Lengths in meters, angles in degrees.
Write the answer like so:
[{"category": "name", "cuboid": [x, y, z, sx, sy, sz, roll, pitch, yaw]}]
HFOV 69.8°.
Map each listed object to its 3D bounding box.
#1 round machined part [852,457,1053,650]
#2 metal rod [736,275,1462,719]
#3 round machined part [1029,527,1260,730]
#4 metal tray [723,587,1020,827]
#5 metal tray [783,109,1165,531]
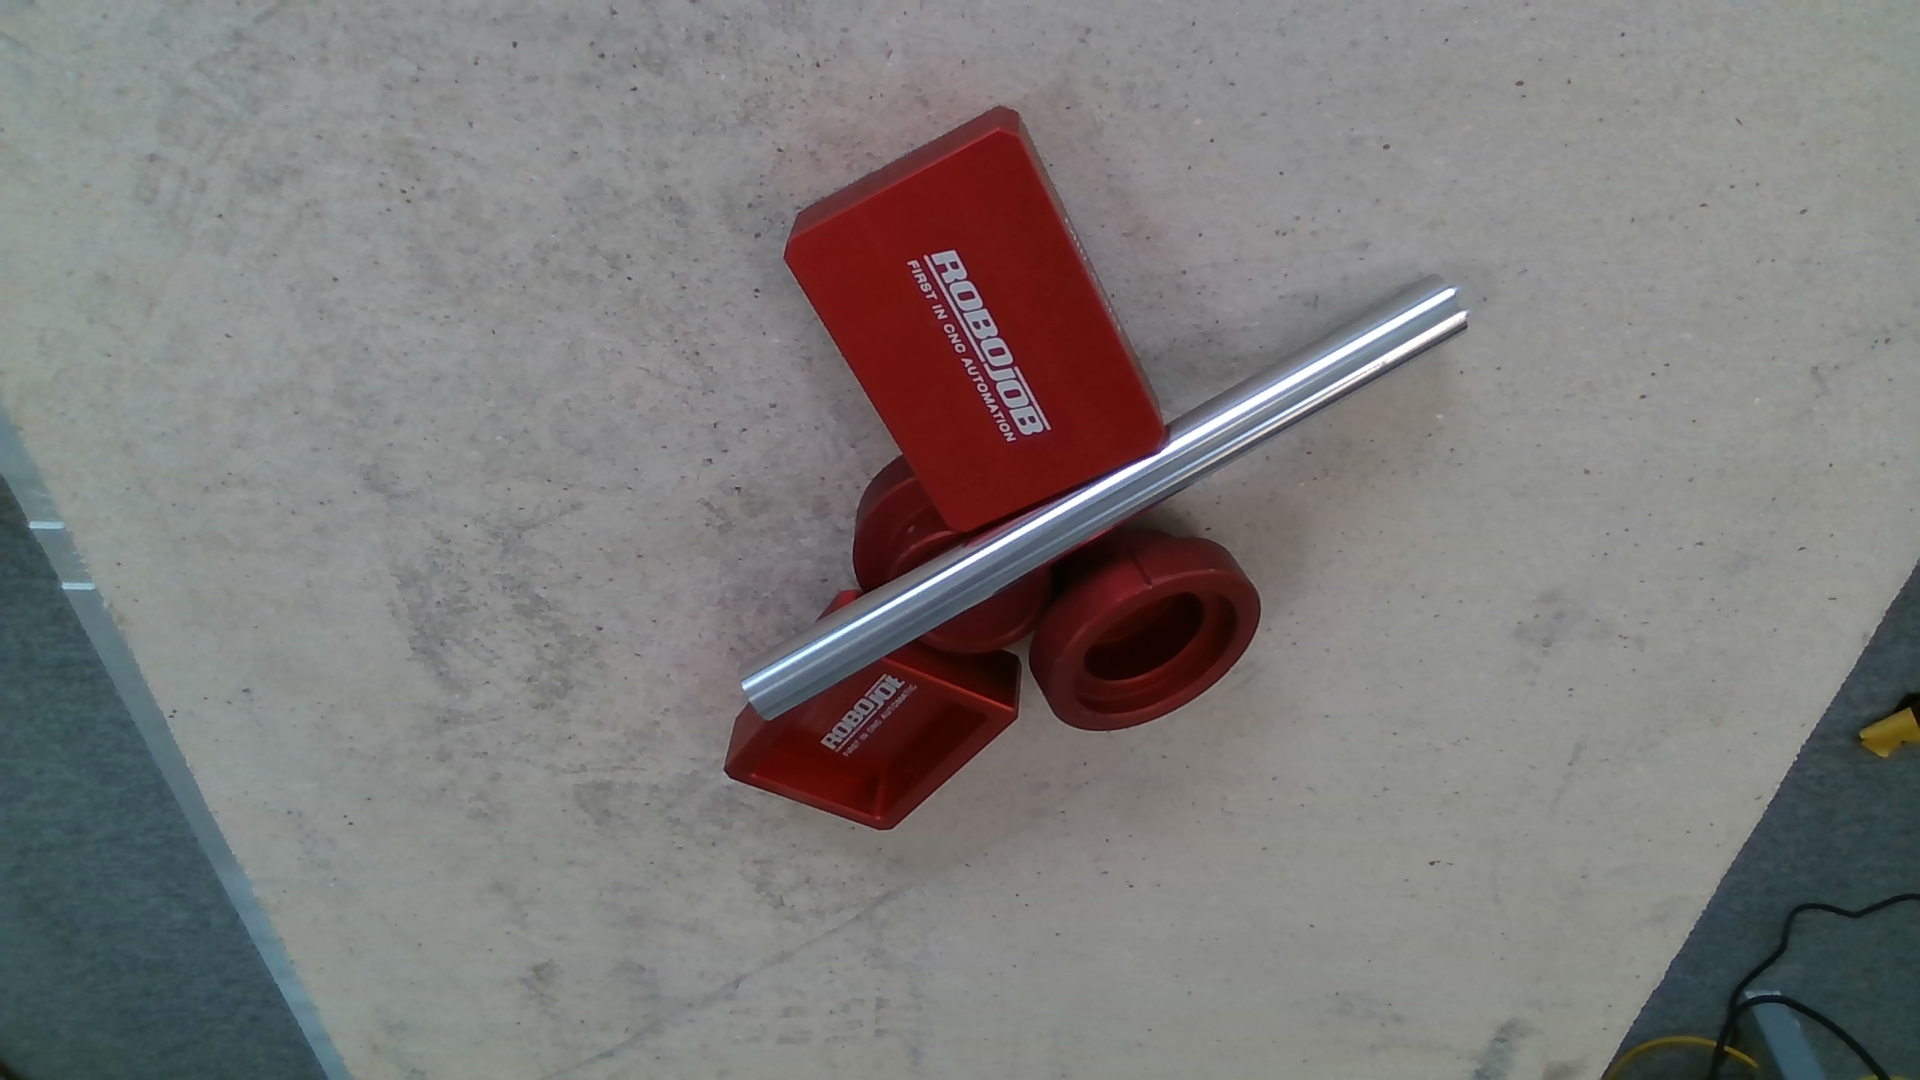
[{"category": "round machined part", "cuboid": [0.004, 0.008, 0.576, 0.098, 0.042, 0.098, 0, 130, 0]}, {"category": "metal rod", "cuboid": [0.049, -0.014, 0.525, 0.300, 0.025, 0.025, -29, 125, 7]}, {"category": "round machined part", "cuboid": [0.074, 0.033, 0.582, 0.098, 0.042, 0.098, -16, 139, -15]}, {"category": "metal tray", "cuboid": [-0.042, 0.081, 0.630, 0.090, 0.030, 0.130, 23, 137, -19]}, {"category": "metal tray", "cuboid": [0.007, -0.076, 0.498, 0.090, 0.030, 0.130, -23, 118, 15]}]
